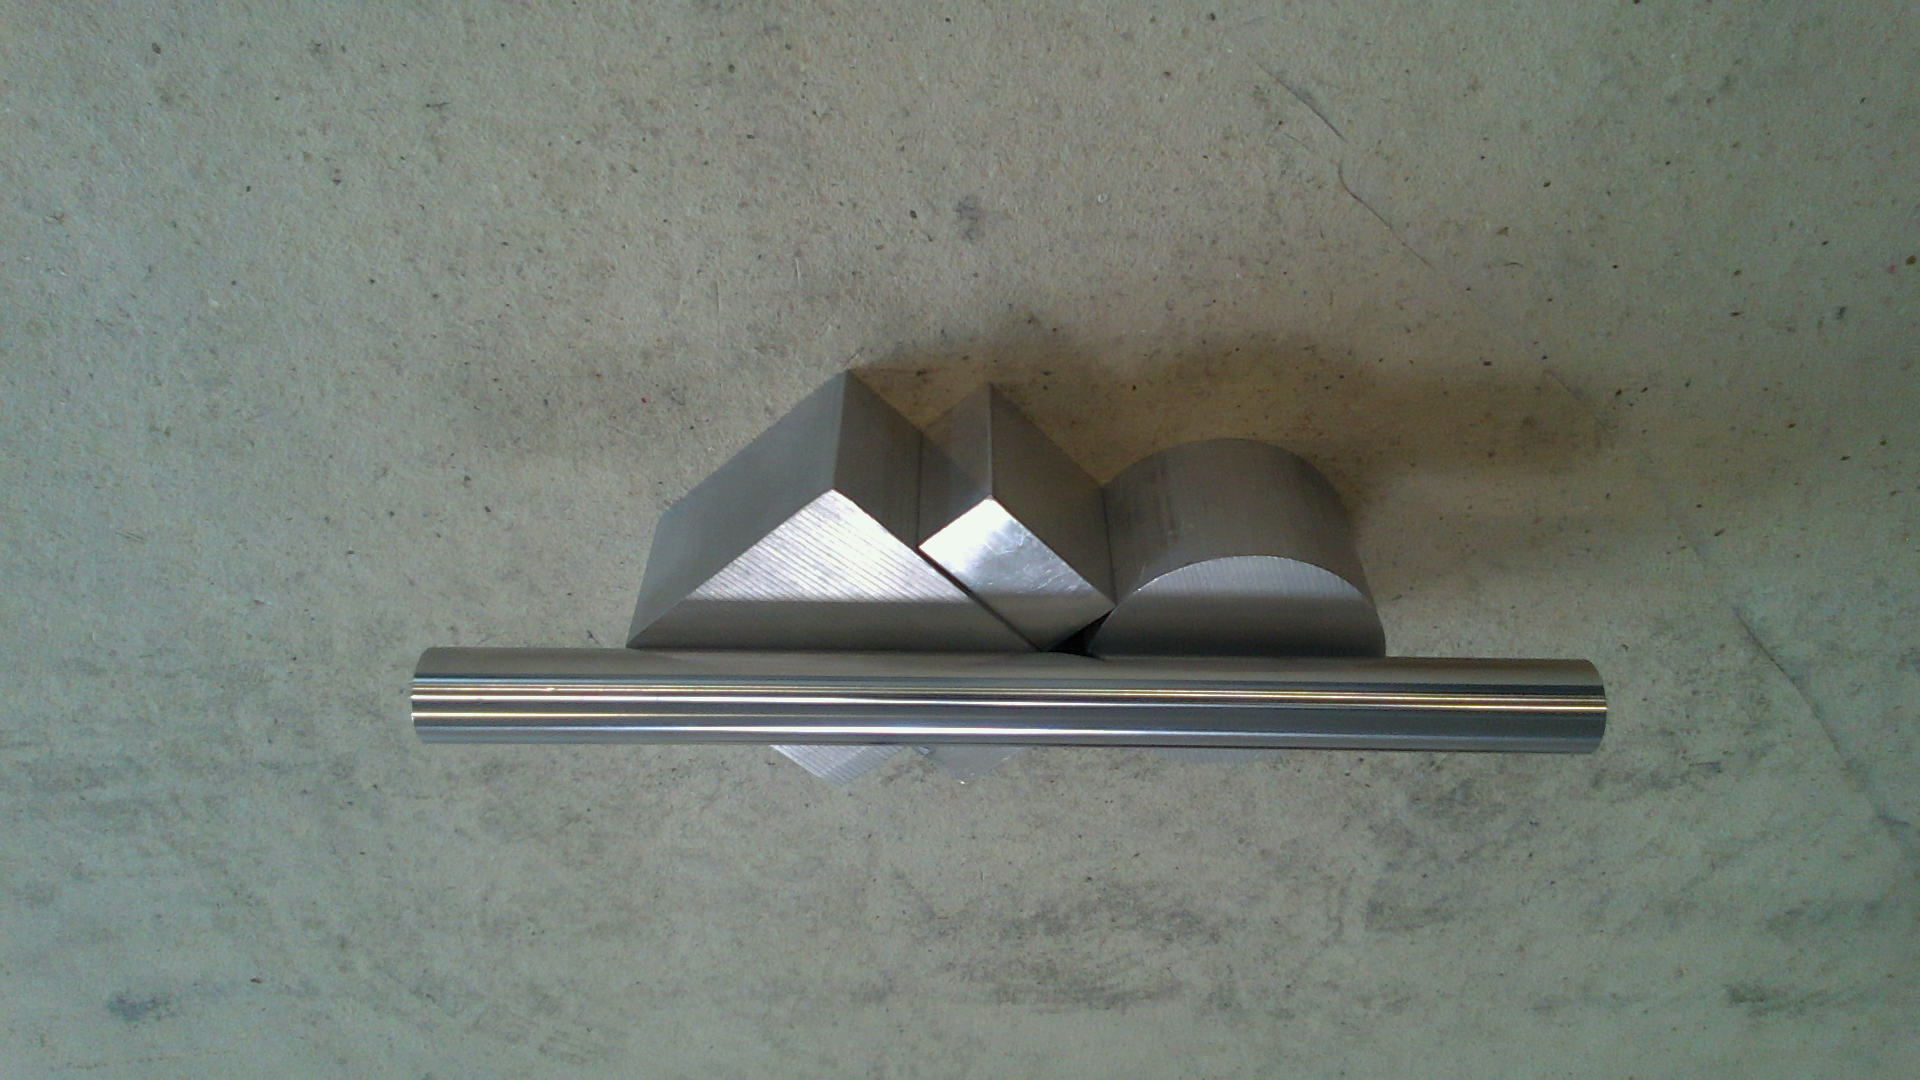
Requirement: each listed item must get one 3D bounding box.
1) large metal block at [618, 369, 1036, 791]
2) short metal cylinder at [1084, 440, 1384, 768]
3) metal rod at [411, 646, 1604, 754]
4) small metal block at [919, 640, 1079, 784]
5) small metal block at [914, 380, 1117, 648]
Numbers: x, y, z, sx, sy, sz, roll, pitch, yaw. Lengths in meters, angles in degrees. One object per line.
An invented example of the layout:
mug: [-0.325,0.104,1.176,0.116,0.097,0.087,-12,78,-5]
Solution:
large metal block: [-0.034,0.014,0.384,0.080,0.050,0.080,-35,122,26]
short metal cylinder: [0.074,0.019,0.390,0.080,0.050,0.080,0,130,0]
metal rod: [0.013,0.042,0.358,0.300,0.025,0.025,1,130,-1]
small metal block: [0.010,0.035,0.405,0.050,0.050,0.025,-35,122,26]
small metal block: [0.015,-0.007,0.370,0.025,0.050,0.050,-35,122,26]
